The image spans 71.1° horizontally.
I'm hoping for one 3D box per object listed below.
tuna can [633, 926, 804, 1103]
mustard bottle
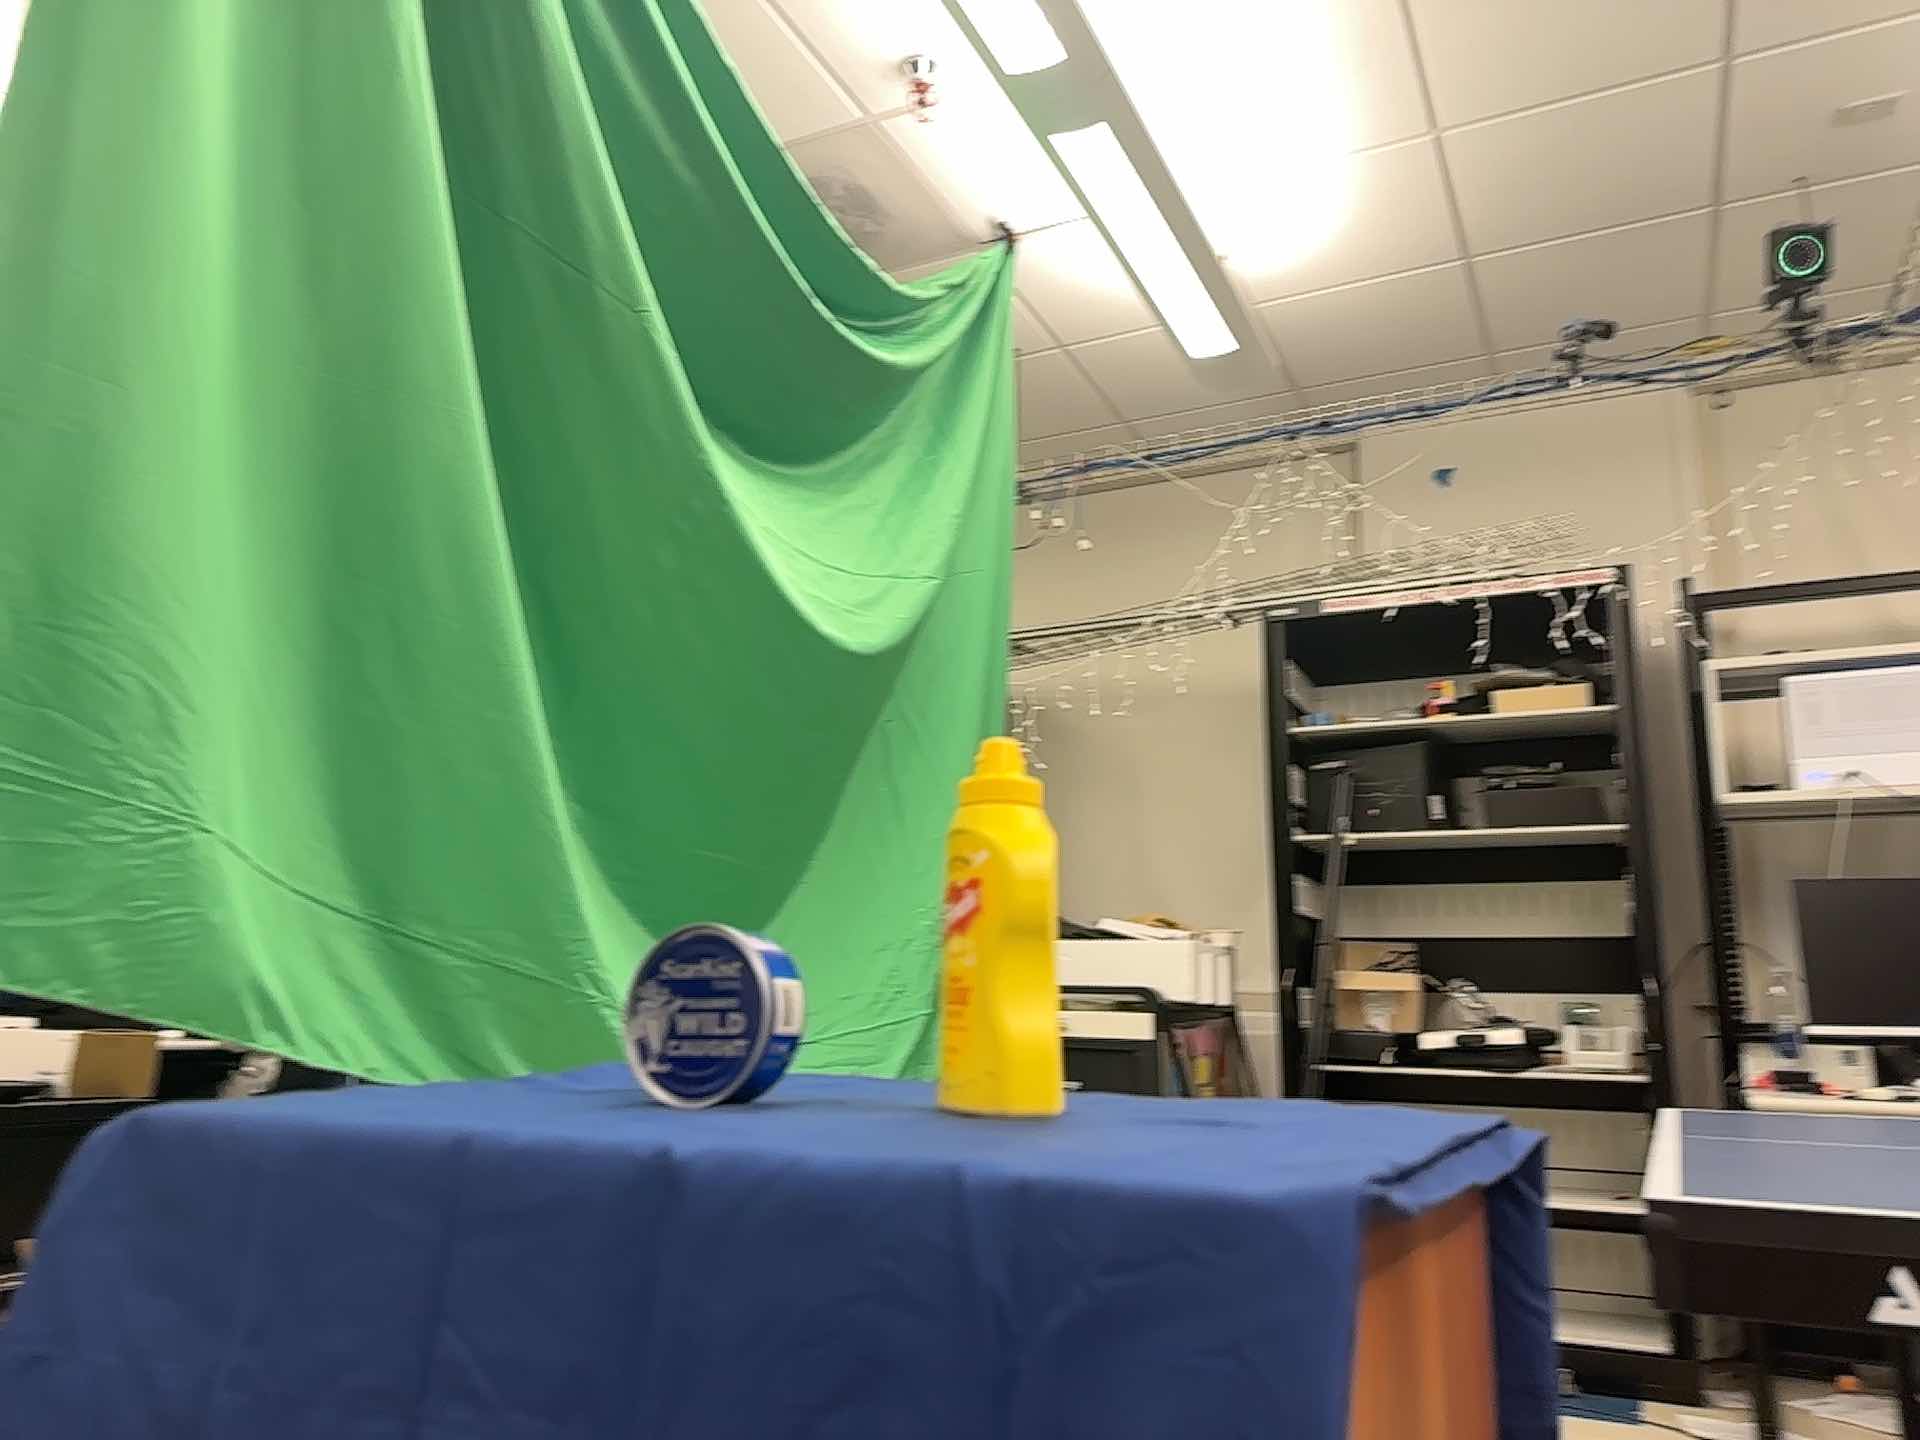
[{"bbox_3d":[-0.119,0.145,0.664,0.083,0.083,0.034,-5,-15,30],"label":"tuna can"},{"bbox_3d":[0.019,0.098,0.652,0.054,0.184,0.092,5,-13,-12],"label":"mustard bottle"}]
